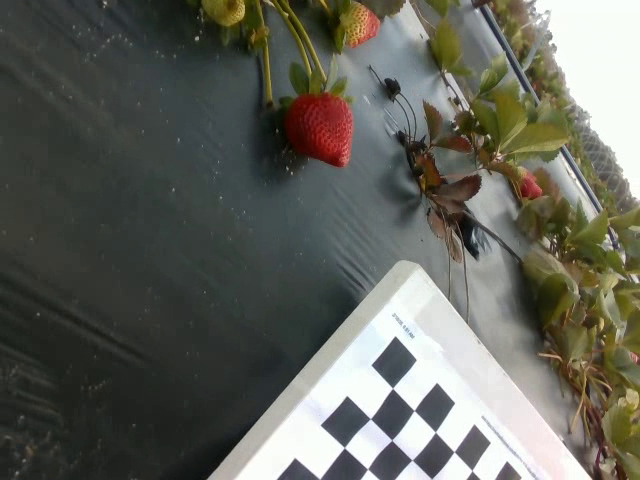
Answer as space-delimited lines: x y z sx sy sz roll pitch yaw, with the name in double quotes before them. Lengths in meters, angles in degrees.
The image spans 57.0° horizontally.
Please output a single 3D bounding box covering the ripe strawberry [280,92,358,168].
"ripe strawberry" 0.003 -0.059 0.327 0.045 0.042 0.055 -5 36 -22
